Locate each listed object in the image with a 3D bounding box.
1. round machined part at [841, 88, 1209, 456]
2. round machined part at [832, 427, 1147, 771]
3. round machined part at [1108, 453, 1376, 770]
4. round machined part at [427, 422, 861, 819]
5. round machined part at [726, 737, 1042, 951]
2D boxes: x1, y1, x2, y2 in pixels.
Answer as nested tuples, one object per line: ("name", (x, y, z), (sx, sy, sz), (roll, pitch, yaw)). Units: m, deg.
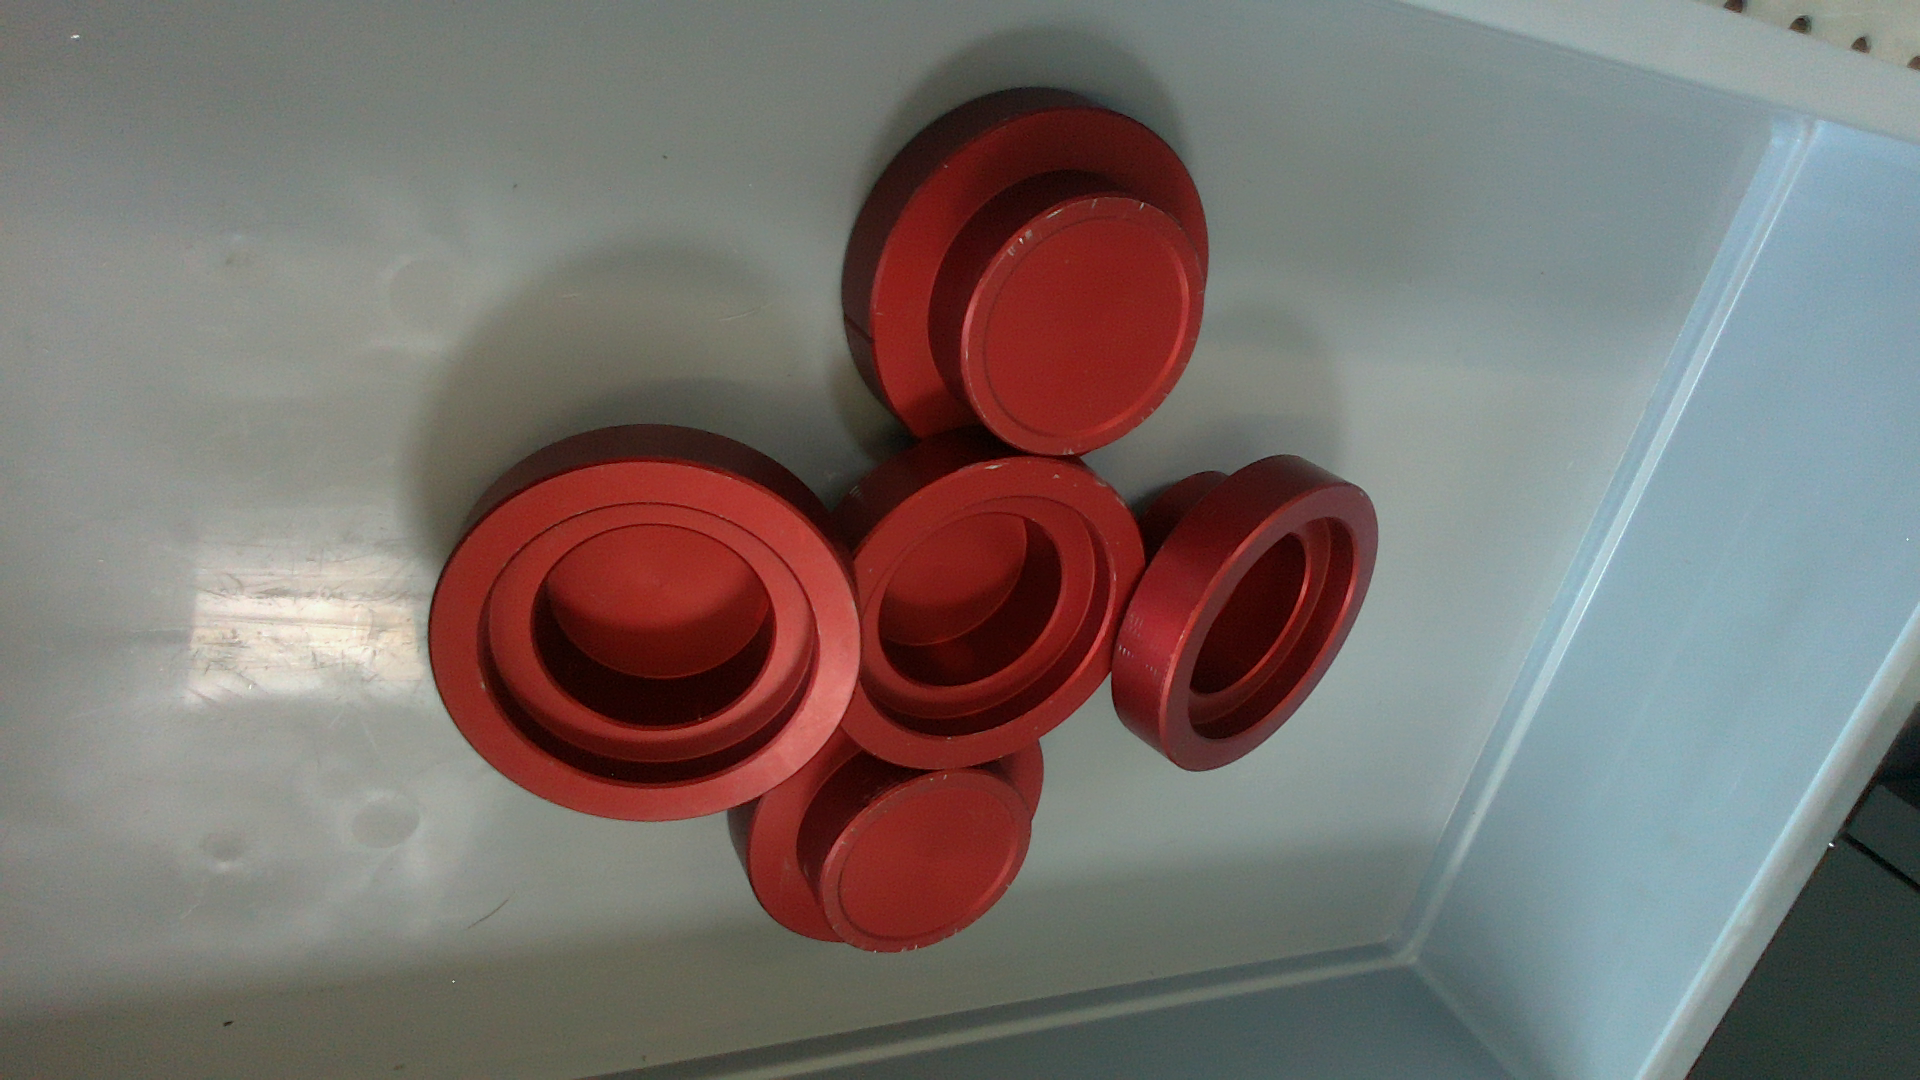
("round machined part", (0.023, -0.061, 0.351), (0.098, 0.042, 0.098), (-14, 124, -21))
("round machined part", (-0.001, 0.012, 0.383), (0.098, 0.042, 0.098), (-14, 124, -21))
("round machined part", (0.079, 0.018, 0.419), (0.098, 0.042, 0.098), (-27, 135, -31))
("round machined part", (-0.074, 0.016, 0.336), (0.098, 0.042, 0.098), (-4, 117, -7))
("round machined part", (-0.018, 0.085, 0.419), (0.098, 0.042, 0.098), (-14, 124, -21))
